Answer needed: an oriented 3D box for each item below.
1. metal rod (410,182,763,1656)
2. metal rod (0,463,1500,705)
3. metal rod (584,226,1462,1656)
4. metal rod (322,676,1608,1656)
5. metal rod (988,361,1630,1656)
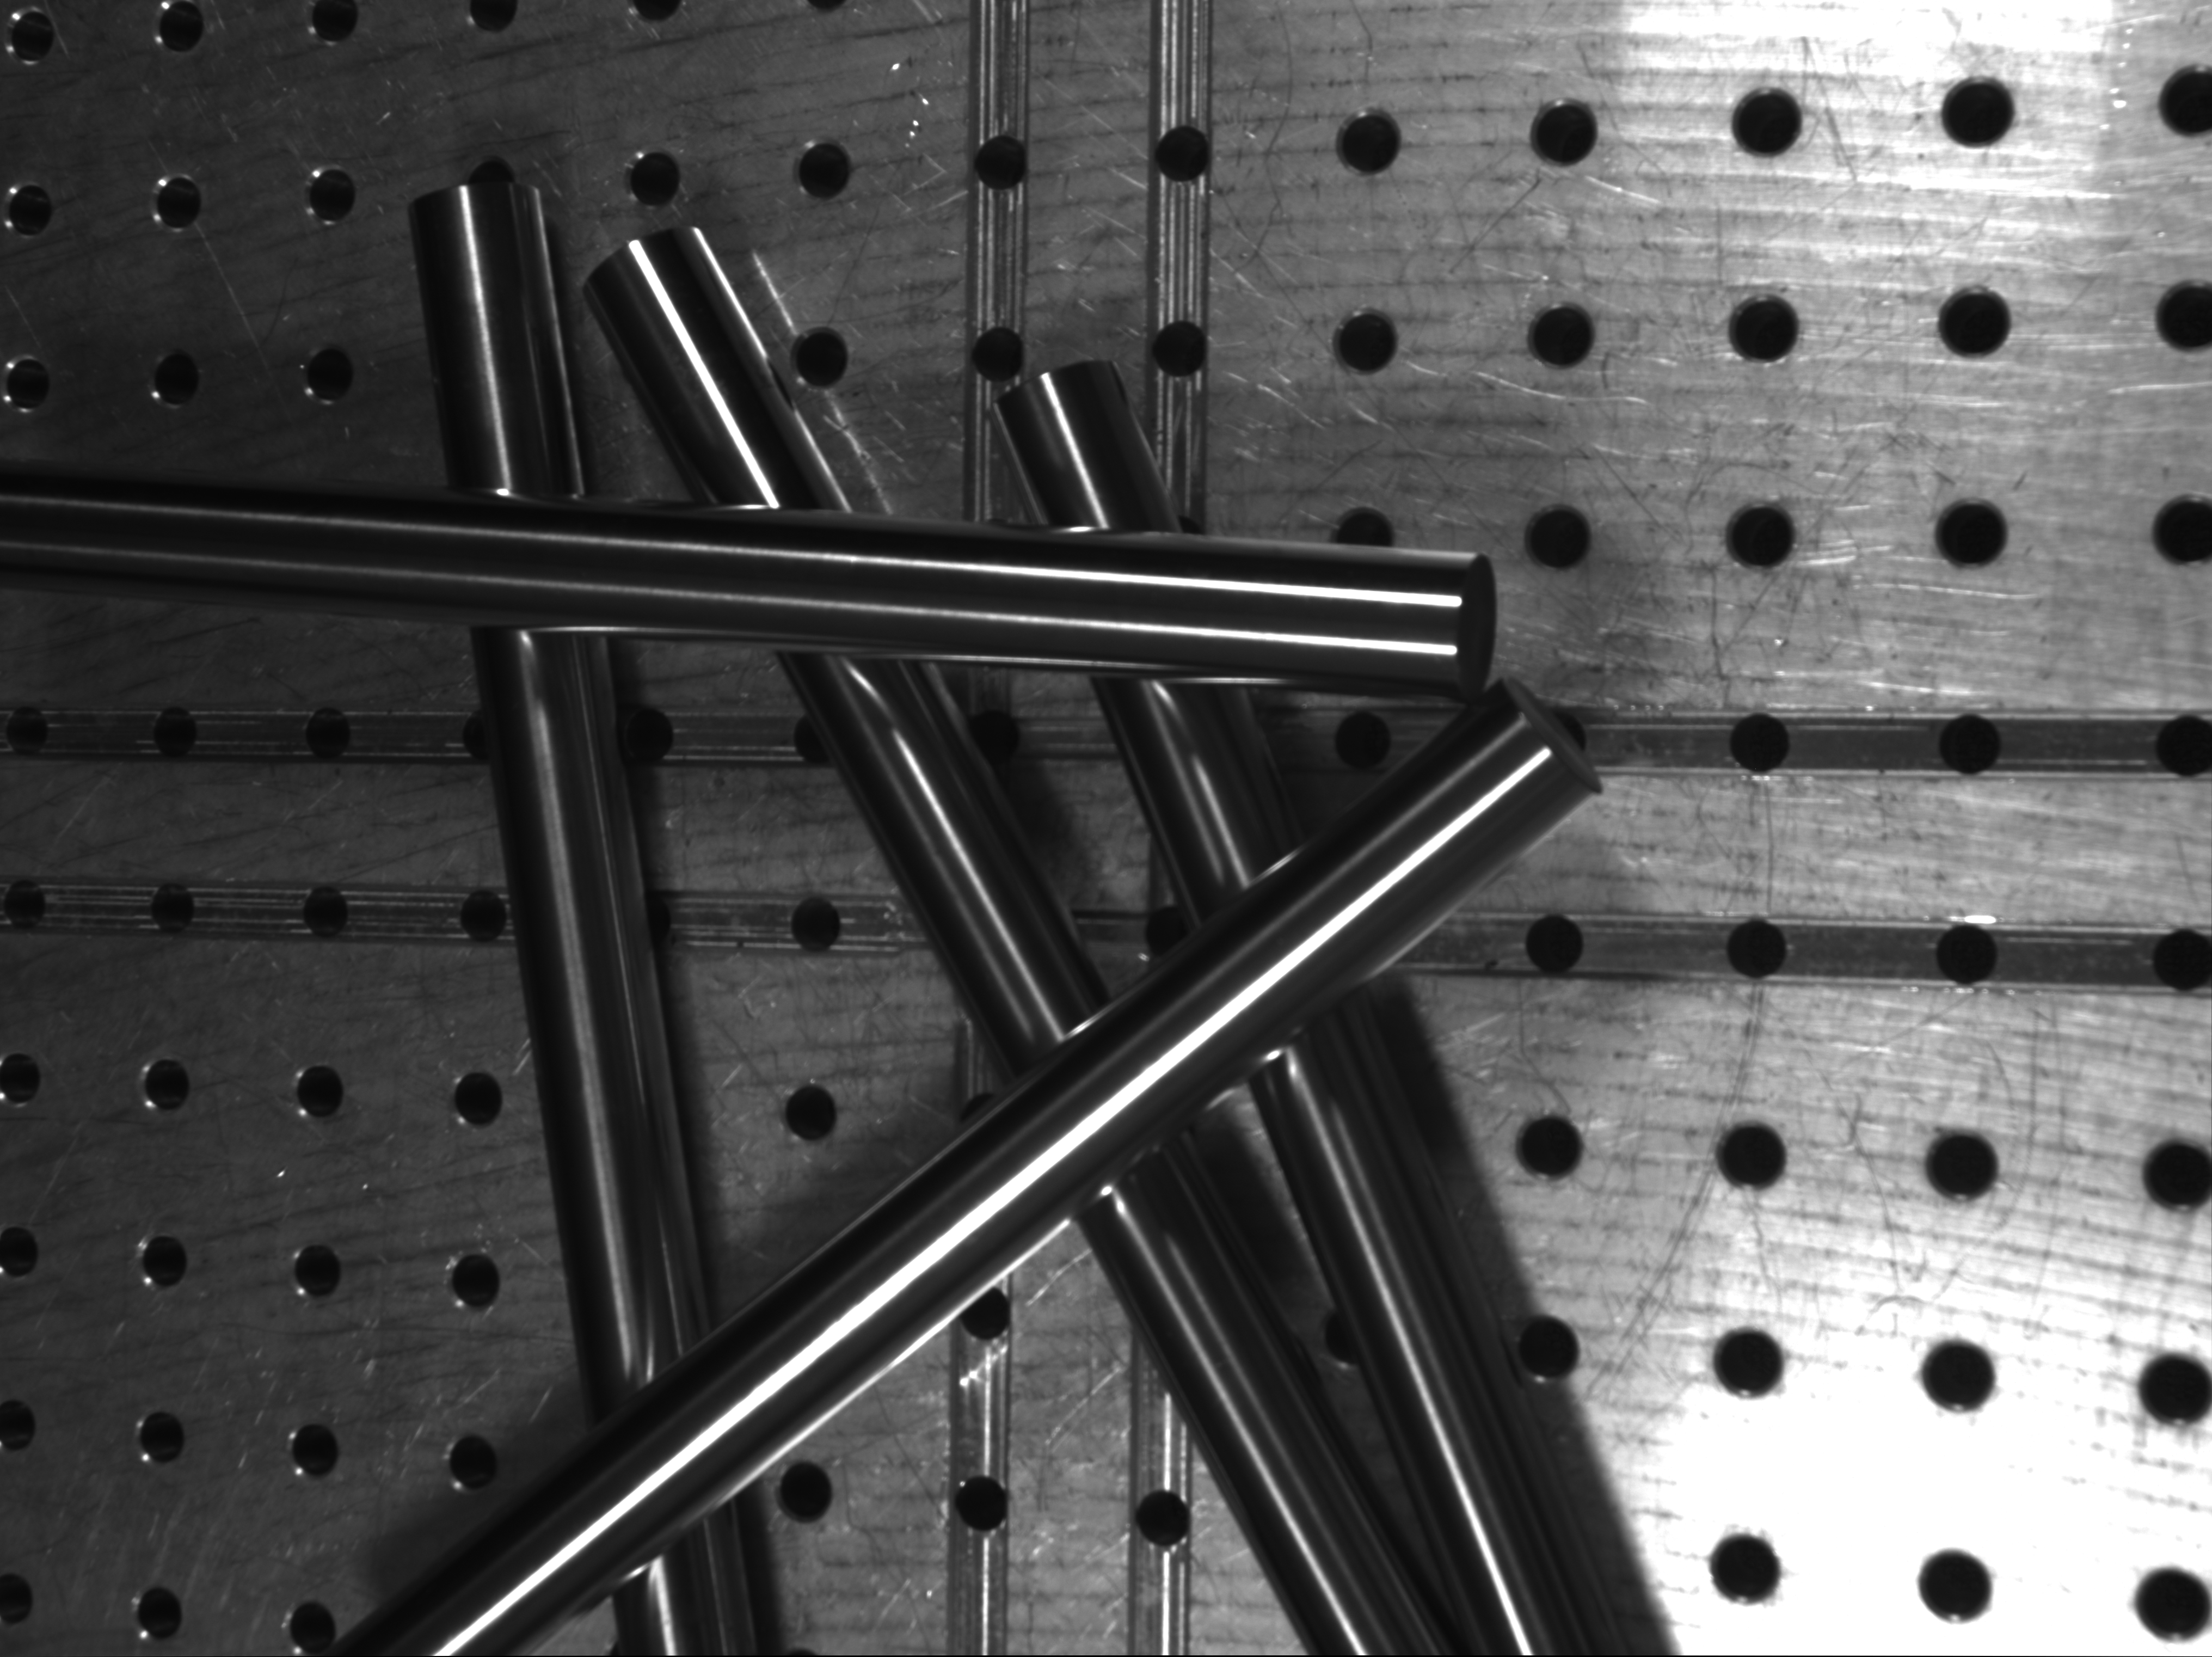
[{"bbox_3d":[-0.095,0.030,0.680,0.025,0.025,0.300,-10,86,19],"label":"metal rod"},{"bbox_3d":[-0.079,-0.045,0.649,0.299,0.025,0.025,5,92,20],"label":"metal rod"},{"bbox_3d":[-0.015,0.025,0.651,0.025,0.025,0.300,-32,80,17],"label":"metal rod"},{"bbox_3d":[-0.037,0.078,0.633,0.300,0.025,0.025,-40,77,15],"label":"metal rod"},{"bbox_3d":[0.044,0.061,0.631,0.025,0.025,0.300,-24,82,18],"label":"metal rod"}]
